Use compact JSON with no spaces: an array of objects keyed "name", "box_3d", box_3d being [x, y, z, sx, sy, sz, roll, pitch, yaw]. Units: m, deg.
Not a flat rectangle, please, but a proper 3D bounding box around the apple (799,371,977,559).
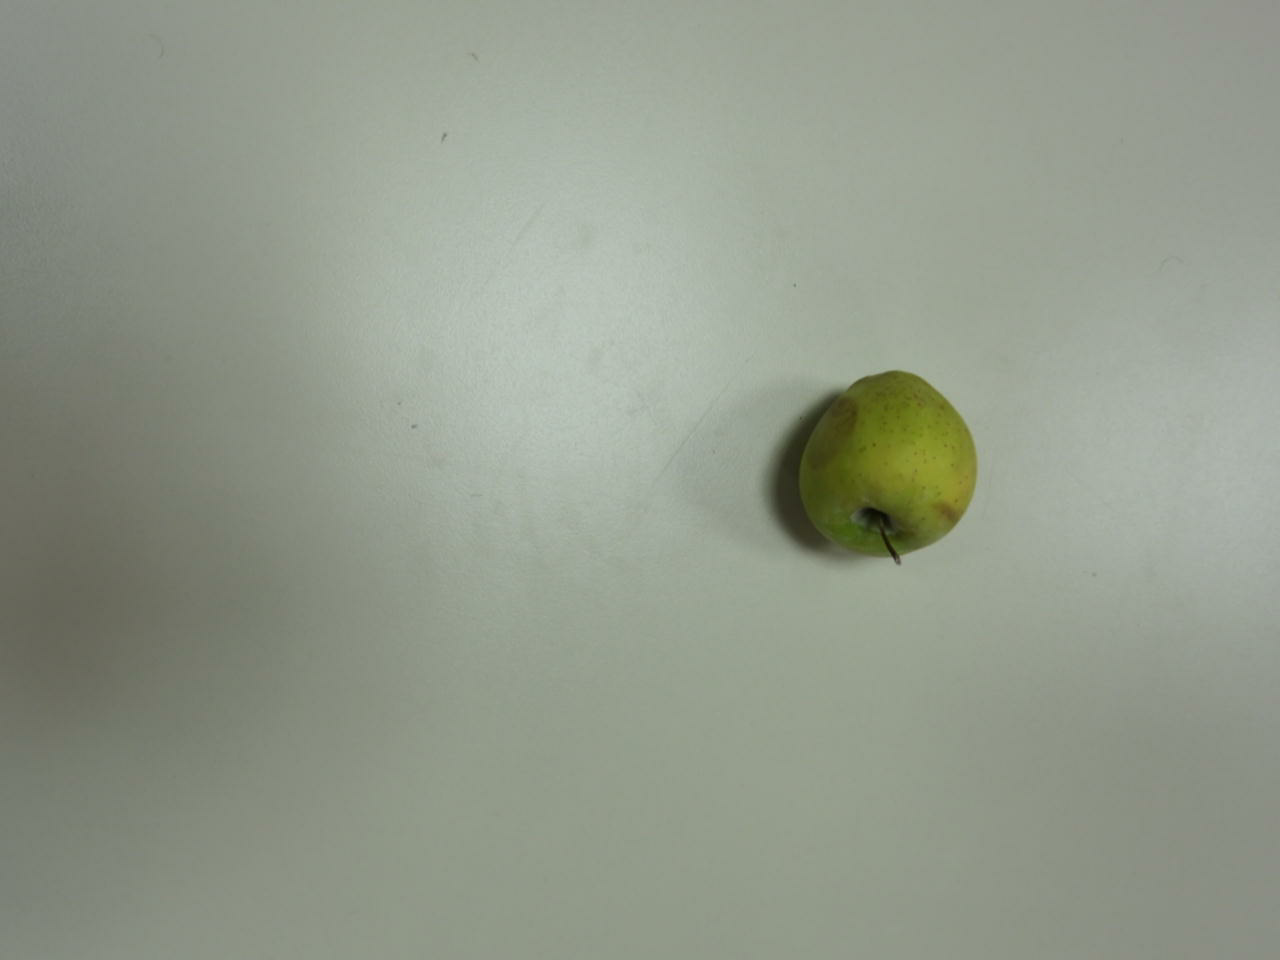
[{"name":"apple","box_3d":[0.105,-0.005,0.422,0.077,0.075,0.072,-36,97,-9]}]
